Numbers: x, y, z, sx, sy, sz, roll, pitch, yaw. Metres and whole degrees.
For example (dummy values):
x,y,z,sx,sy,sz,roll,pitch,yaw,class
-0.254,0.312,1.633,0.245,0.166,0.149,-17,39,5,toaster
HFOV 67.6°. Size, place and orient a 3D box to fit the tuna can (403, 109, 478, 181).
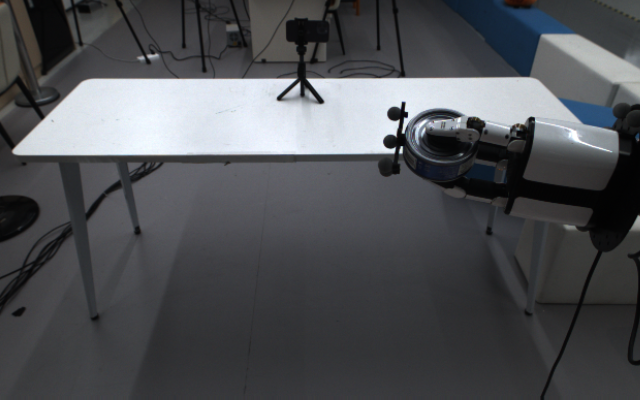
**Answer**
x,y,z,sx,sy,sz,roll,pitch,yaw,class
0.142,-0.068,0.566,0.085,0.034,0.085,-2,57,3,tuna can
